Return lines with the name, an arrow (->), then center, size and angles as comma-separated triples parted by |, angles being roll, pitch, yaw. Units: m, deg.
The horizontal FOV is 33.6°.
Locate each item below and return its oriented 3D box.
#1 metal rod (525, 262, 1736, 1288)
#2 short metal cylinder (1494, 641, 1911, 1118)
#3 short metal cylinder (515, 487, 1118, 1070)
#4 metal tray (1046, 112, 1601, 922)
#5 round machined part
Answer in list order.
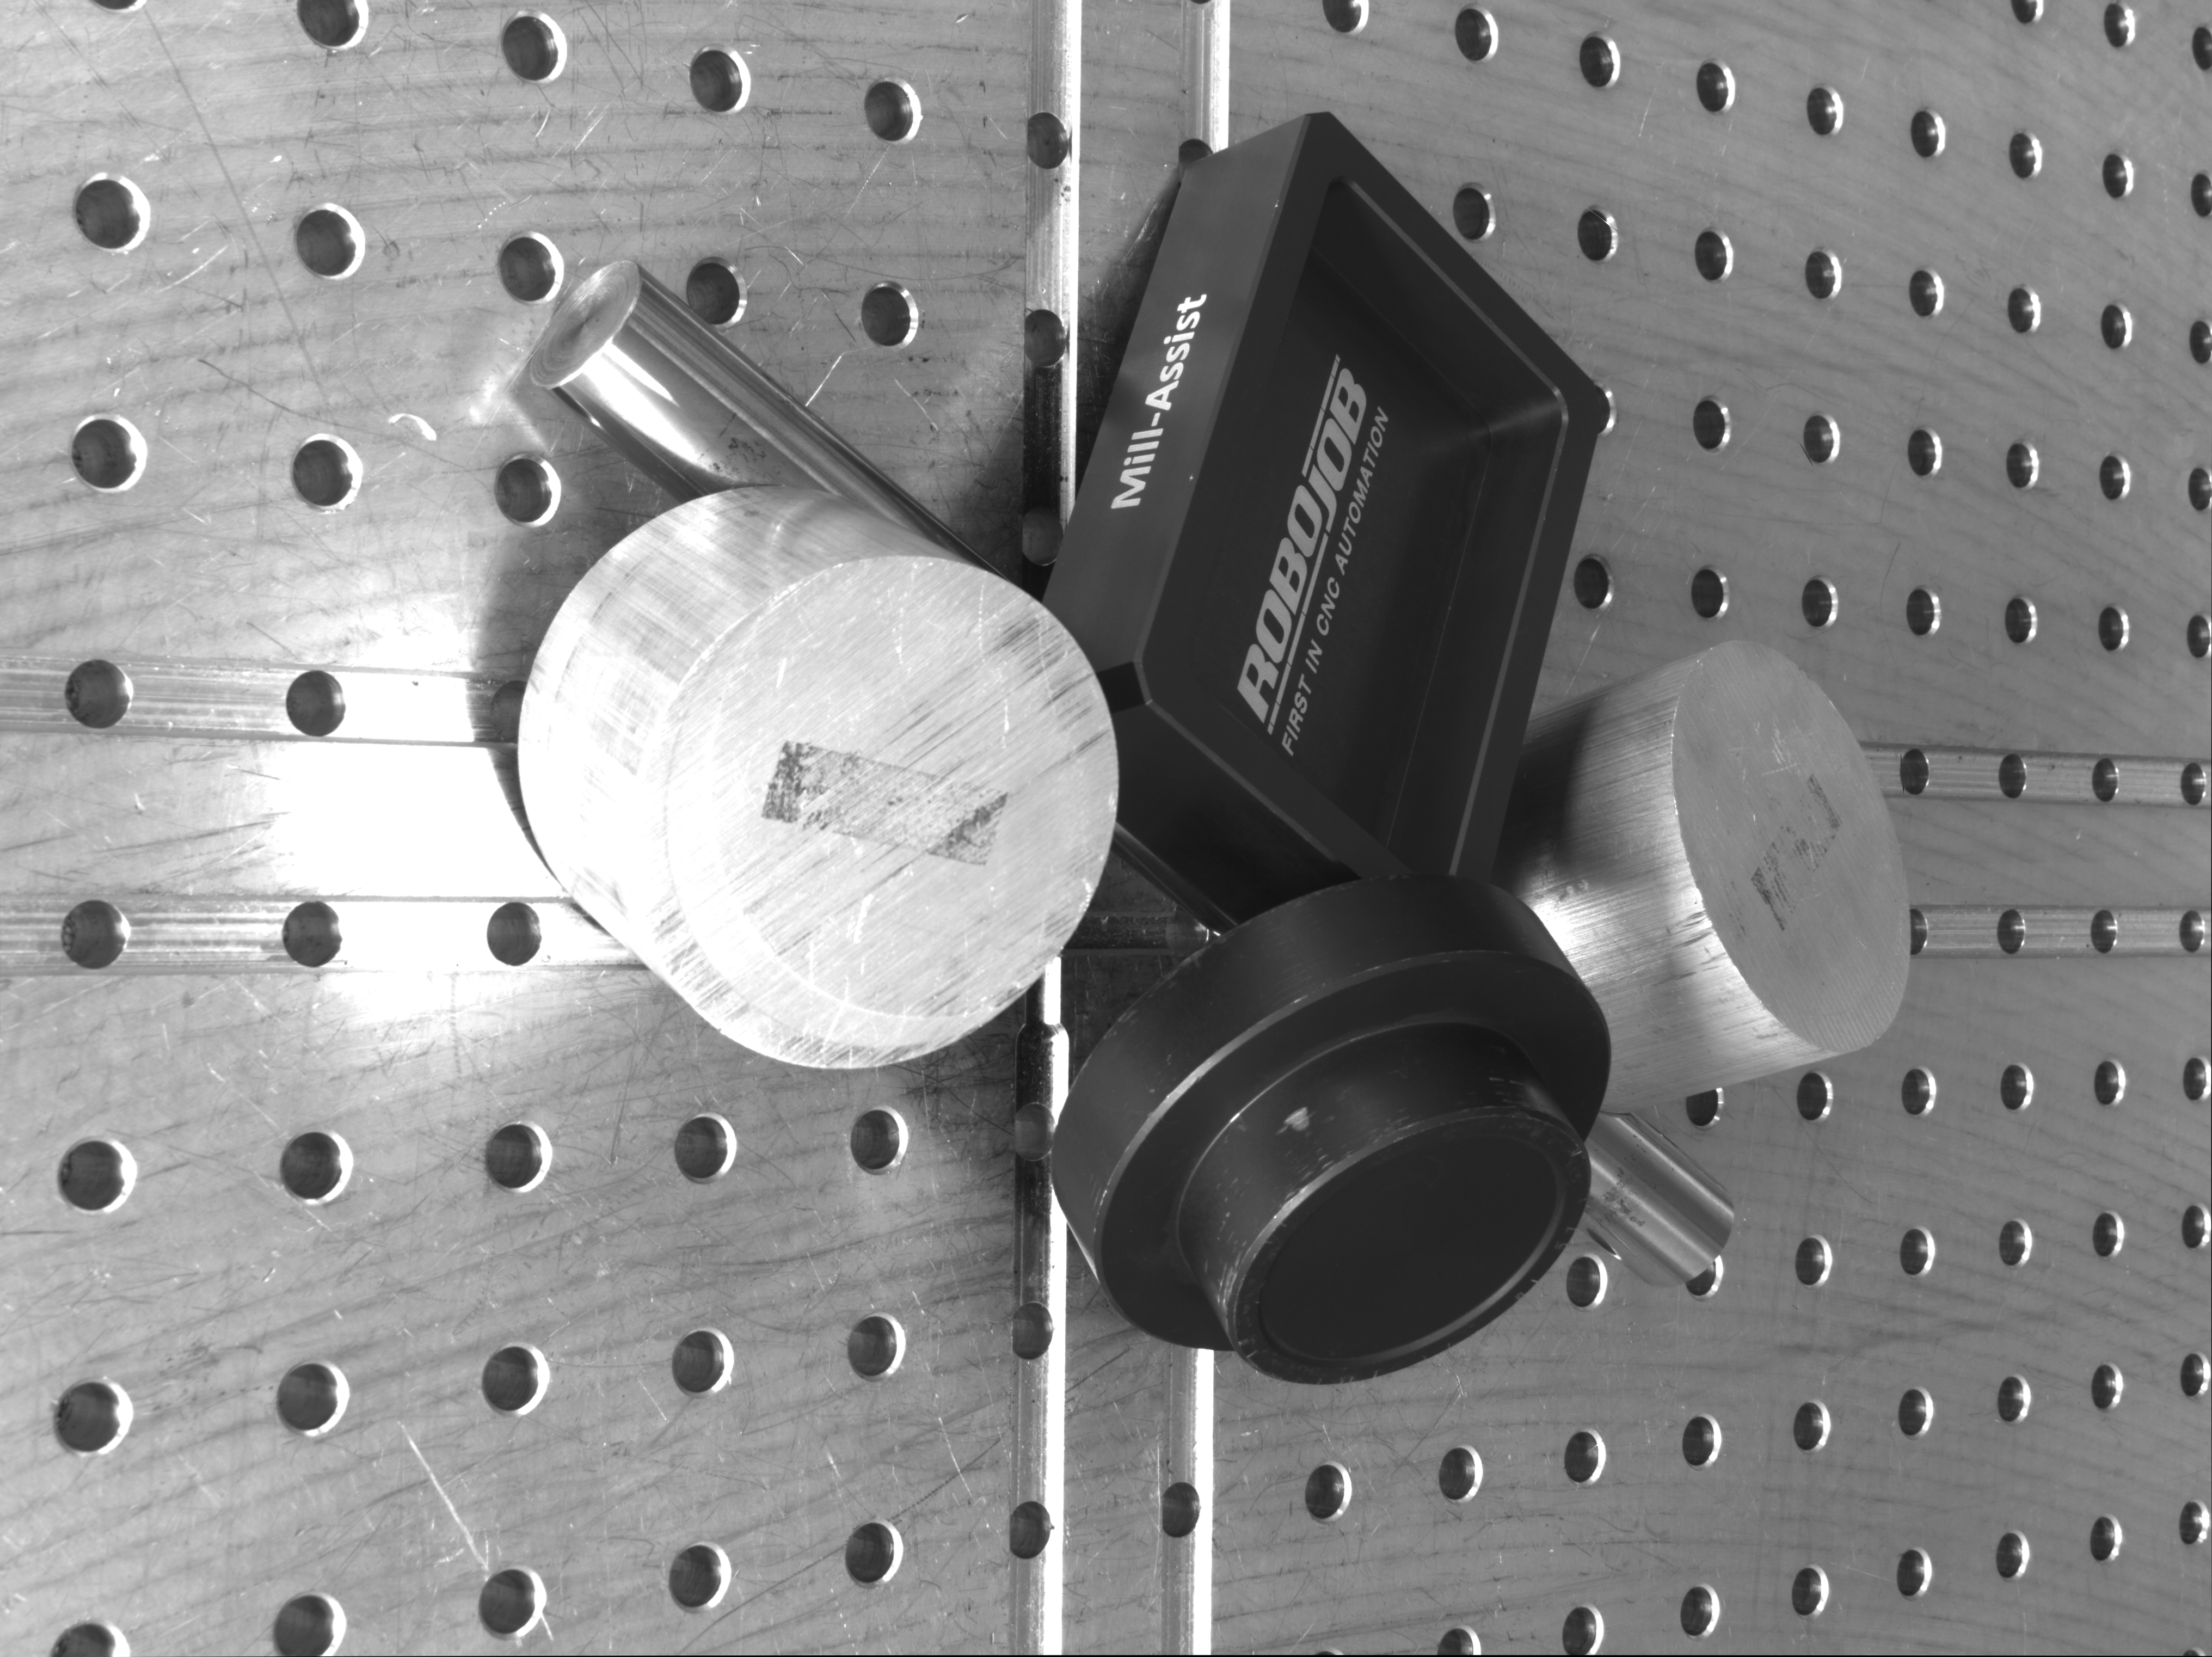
metal rod -> 0.017, 0.001, 0.653 | 0.301, 0.025, 0.025 | 39, 66, -33
short metal cylinder -> 0.110, 0.010, 0.699 | 0.080, 0.050, 0.080 | 25, 55, -42
short metal cylinder -> -0.045, -0.009, 0.570 | 0.080, 0.050, 0.080 | -10, 111, -26
metal tray -> 0.039, -0.050, 0.649 | 0.090, 0.030, 0.130 | 39, 53, -33
round machined part -> 0.043, 0.058, 0.628 | 0.098, 0.042, 0.098 | -17, 139, -15
